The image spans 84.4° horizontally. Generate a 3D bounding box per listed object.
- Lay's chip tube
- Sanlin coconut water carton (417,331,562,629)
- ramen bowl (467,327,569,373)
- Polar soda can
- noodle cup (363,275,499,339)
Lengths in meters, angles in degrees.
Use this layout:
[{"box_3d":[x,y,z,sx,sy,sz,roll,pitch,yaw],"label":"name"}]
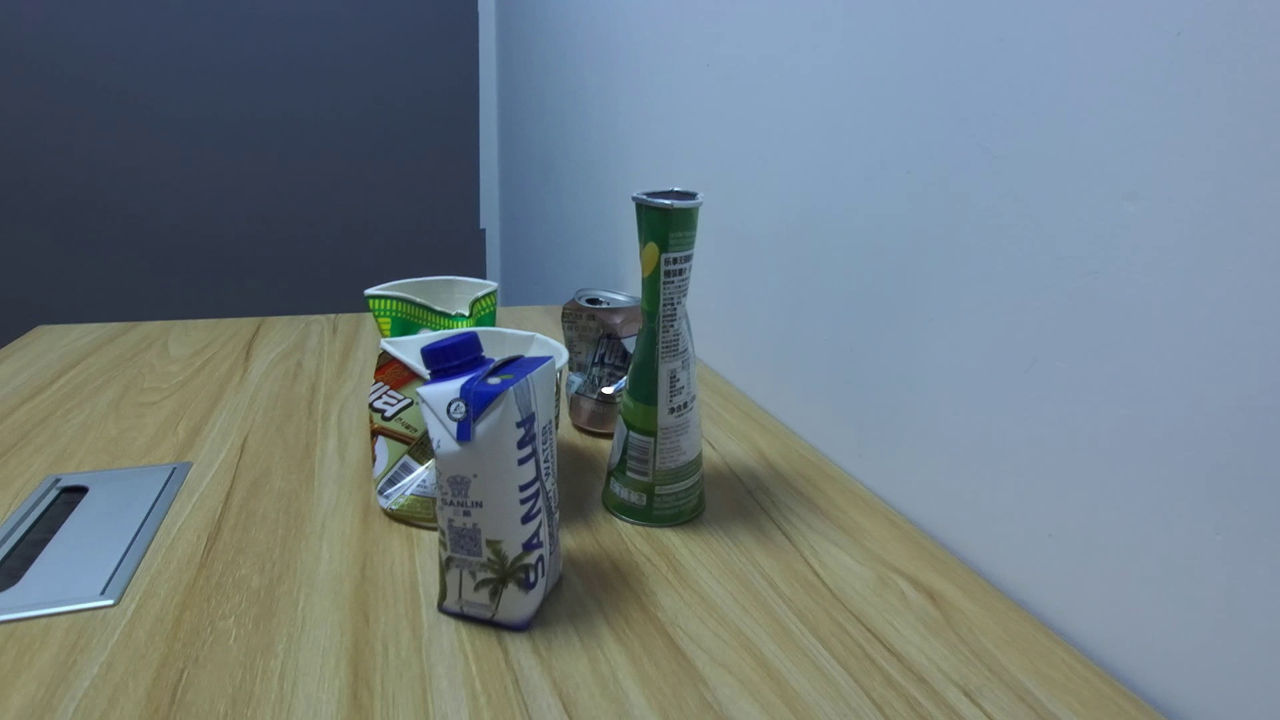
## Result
[{"box_3d":[0.014,-0.001,0.435,0.069,0.199,0.074,-10,22,-35],"label":"Lay's chip tube"},{"box_3d":[-0.072,0.057,0.351,0.057,0.142,0.078,1,15,16],"label":"Sanlin coconut water carton"},{"box_3d":[-0.115,0.040,0.476,0.137,0.098,0.137,2,23,-1],"label":"ramen bowl"},{"box_3d":[-0.024,0.001,0.578,0.074,0.114,0.070,-5,24,-12],"label":"Polar soda can"},{"box_3d":[-0.159,-0.007,0.575,0.082,0.122,0.075,-2,8,15],"label":"noodle cup"}]
